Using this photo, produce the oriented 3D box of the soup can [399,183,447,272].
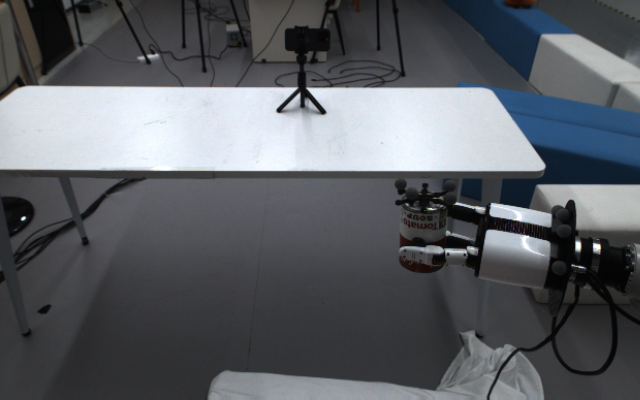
[{"bbox_3d":[0.152,0.044,0.707,0.067,0.101,0.067,-3,27,2],"label":"soup can"}]
